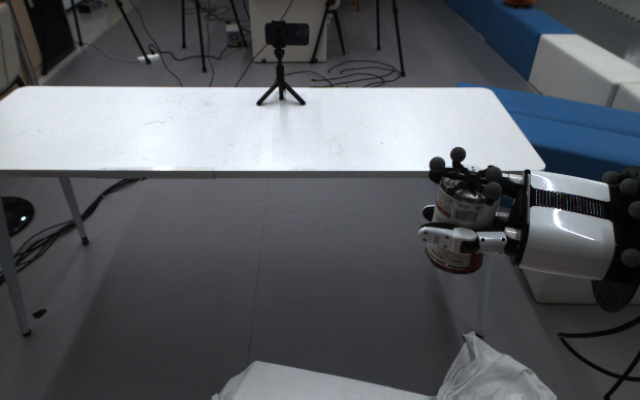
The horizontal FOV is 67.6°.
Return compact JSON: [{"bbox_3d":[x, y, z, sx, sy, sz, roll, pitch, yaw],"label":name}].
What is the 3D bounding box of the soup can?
[{"bbox_3d":[0.165,0.024,0.559,0.067,0.101,0.067,2,32,-1],"label":"soup can"}]
